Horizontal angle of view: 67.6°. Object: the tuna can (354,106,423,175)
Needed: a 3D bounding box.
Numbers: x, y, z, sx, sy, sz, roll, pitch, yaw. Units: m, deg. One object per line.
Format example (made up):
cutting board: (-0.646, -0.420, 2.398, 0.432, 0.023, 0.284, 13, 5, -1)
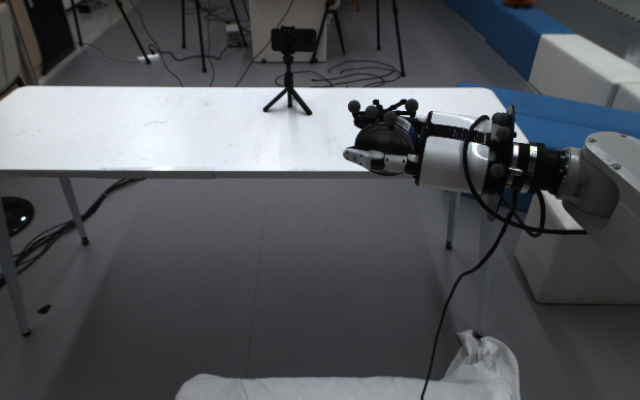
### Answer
tuna can: (0.095, -0.079, 0.681, 0.085, 0.085, 0.034, 14, 41, 16)
